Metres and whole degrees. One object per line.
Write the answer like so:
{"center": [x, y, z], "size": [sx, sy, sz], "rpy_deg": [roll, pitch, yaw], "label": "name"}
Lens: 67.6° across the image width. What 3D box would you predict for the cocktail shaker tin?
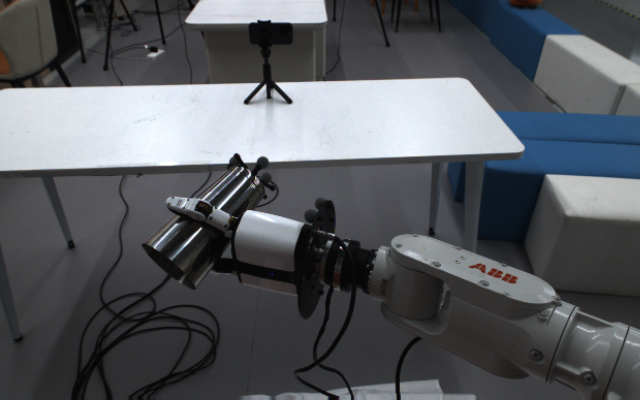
{"center": [-0.155, 0.026, 0.681], "size": [0.093, 0.093, 0.170], "rpy_deg": [23, 57, 27], "label": "cocktail shaker tin"}
